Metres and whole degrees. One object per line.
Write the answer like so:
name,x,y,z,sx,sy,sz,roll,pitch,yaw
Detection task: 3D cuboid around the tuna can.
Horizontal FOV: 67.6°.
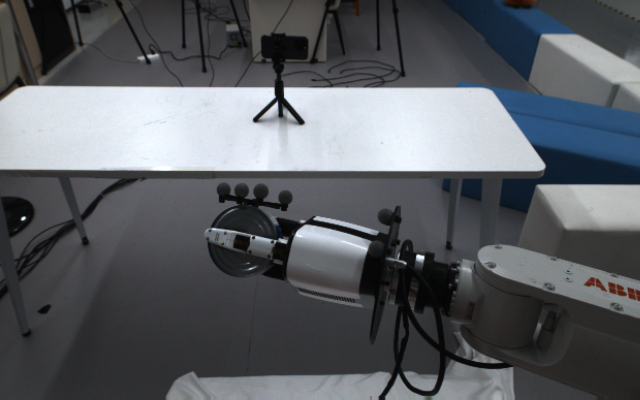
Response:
tuna can,-0.087,0.049,0.580,0.085,0.085,0.034,11,-7,13
